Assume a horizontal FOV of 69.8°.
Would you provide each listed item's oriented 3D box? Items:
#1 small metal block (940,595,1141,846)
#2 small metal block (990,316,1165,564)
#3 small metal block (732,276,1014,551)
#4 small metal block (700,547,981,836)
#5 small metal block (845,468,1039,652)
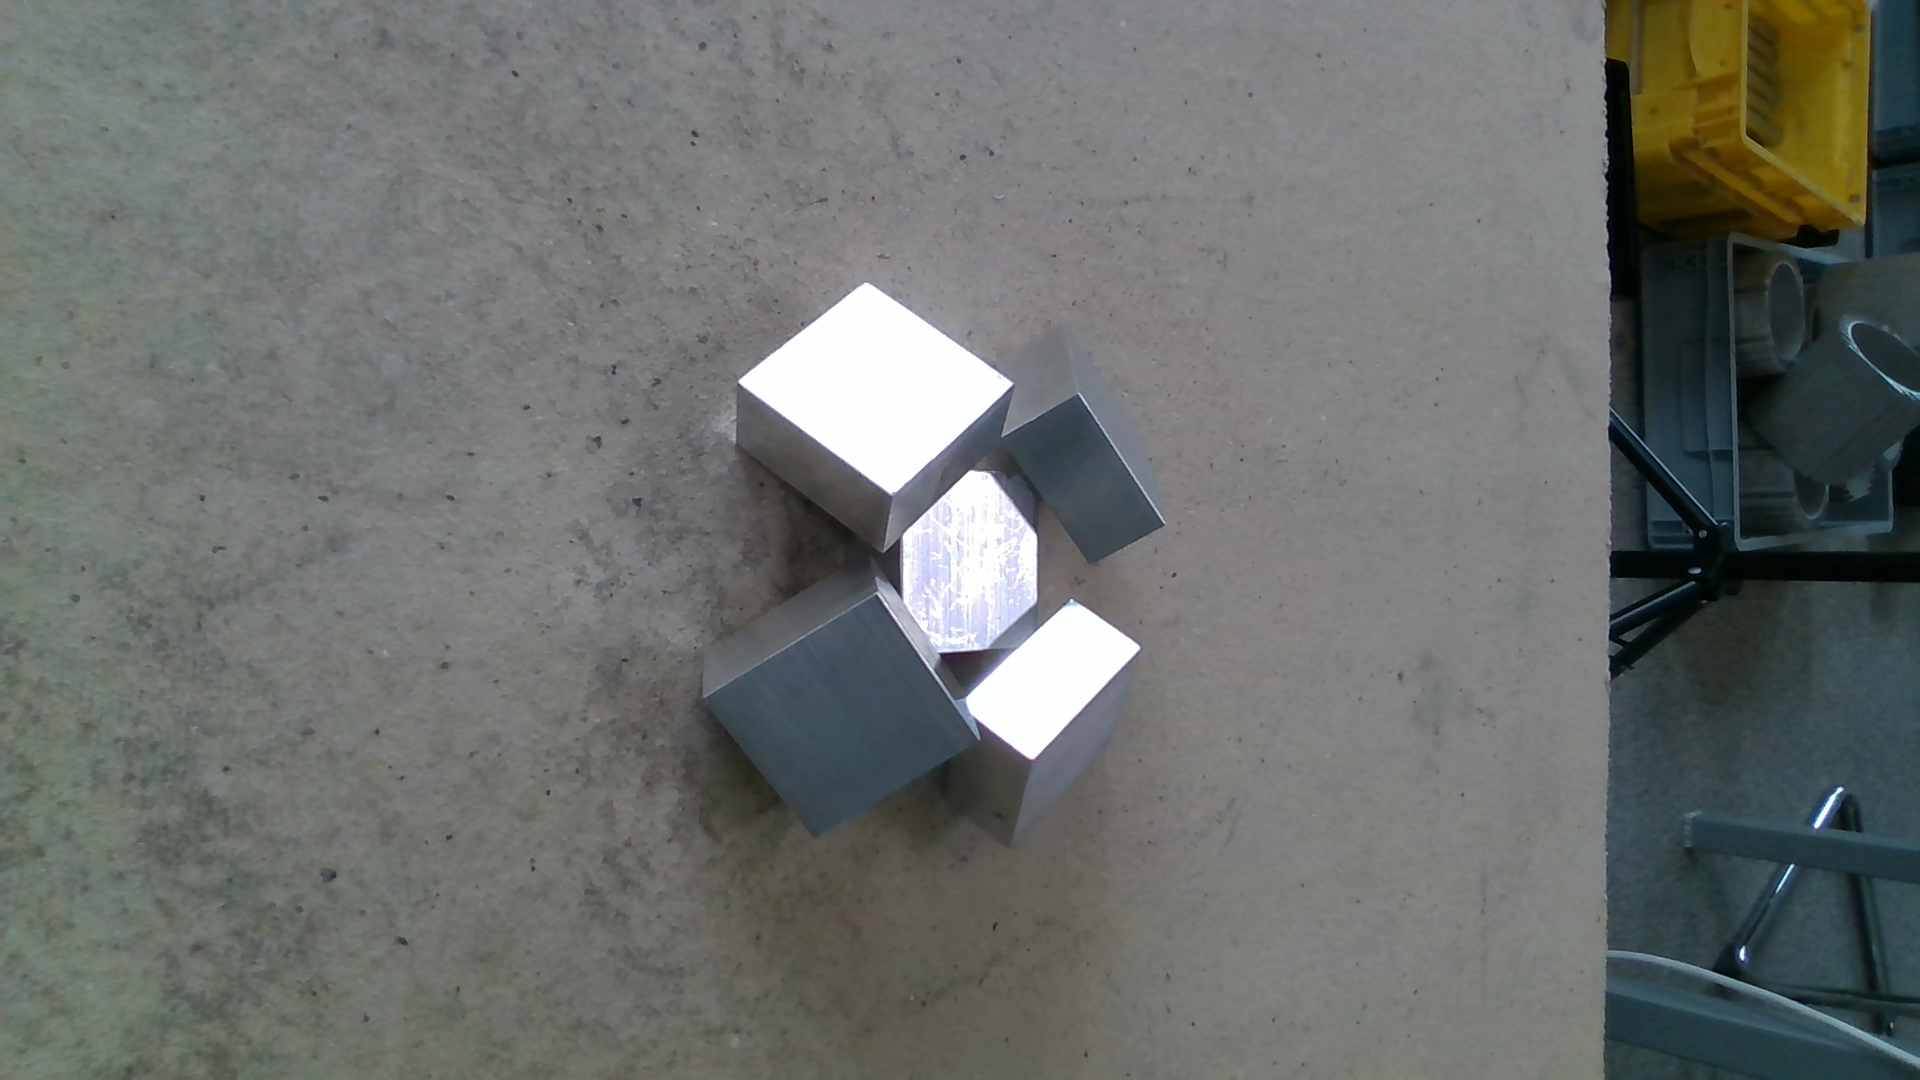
[{"bbox_3d":[0.022,0.052,0.394,0.050,0.025,0.050,-40,155,-32],"label":"small metal block"},{"bbox_3d":[0.034,-0.030,0.403,0.050,0.025,0.050,53,18,-28],"label":"small metal block"},{"bbox_3d":[-0.023,-0.033,0.355,0.050,0.025,0.050,36,58,14],"label":"small metal block"},{"bbox_3d":[-0.030,0.039,0.350,0.050,0.025,0.050,-31,115,5],"label":"small metal block"},{"bbox_3d":[-0.005,0.005,0.387,0.050,0.025,0.050,-1,92,-40],"label":"small metal block"}]
